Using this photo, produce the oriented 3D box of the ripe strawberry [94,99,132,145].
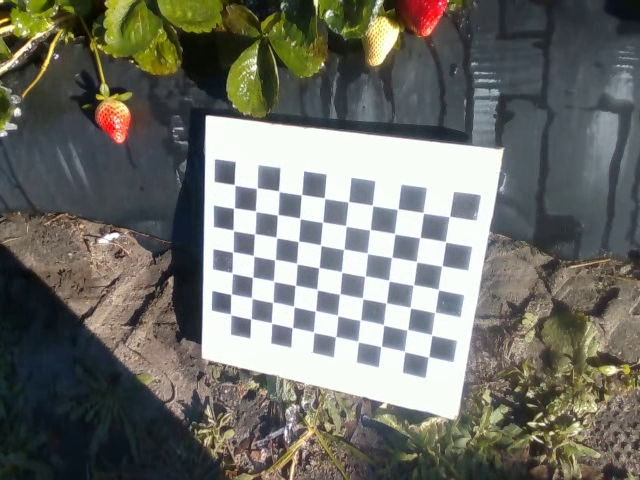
[{"bbox_3d":[-0.210,-0.121,0.637,0.039,0.053,0.041,-13,-6,22],"label":"ripe strawberry"}]
